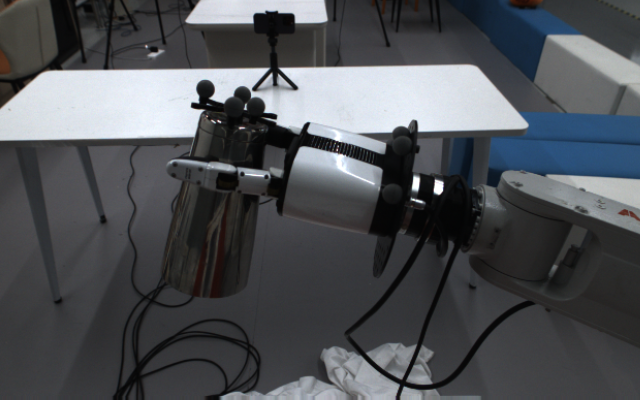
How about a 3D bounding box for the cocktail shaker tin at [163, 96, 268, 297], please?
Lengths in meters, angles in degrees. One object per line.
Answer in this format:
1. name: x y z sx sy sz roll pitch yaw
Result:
1. cocktail shaker tin: -0.099 0.000 0.491 0.093 0.170 0.093 14 18 -5
